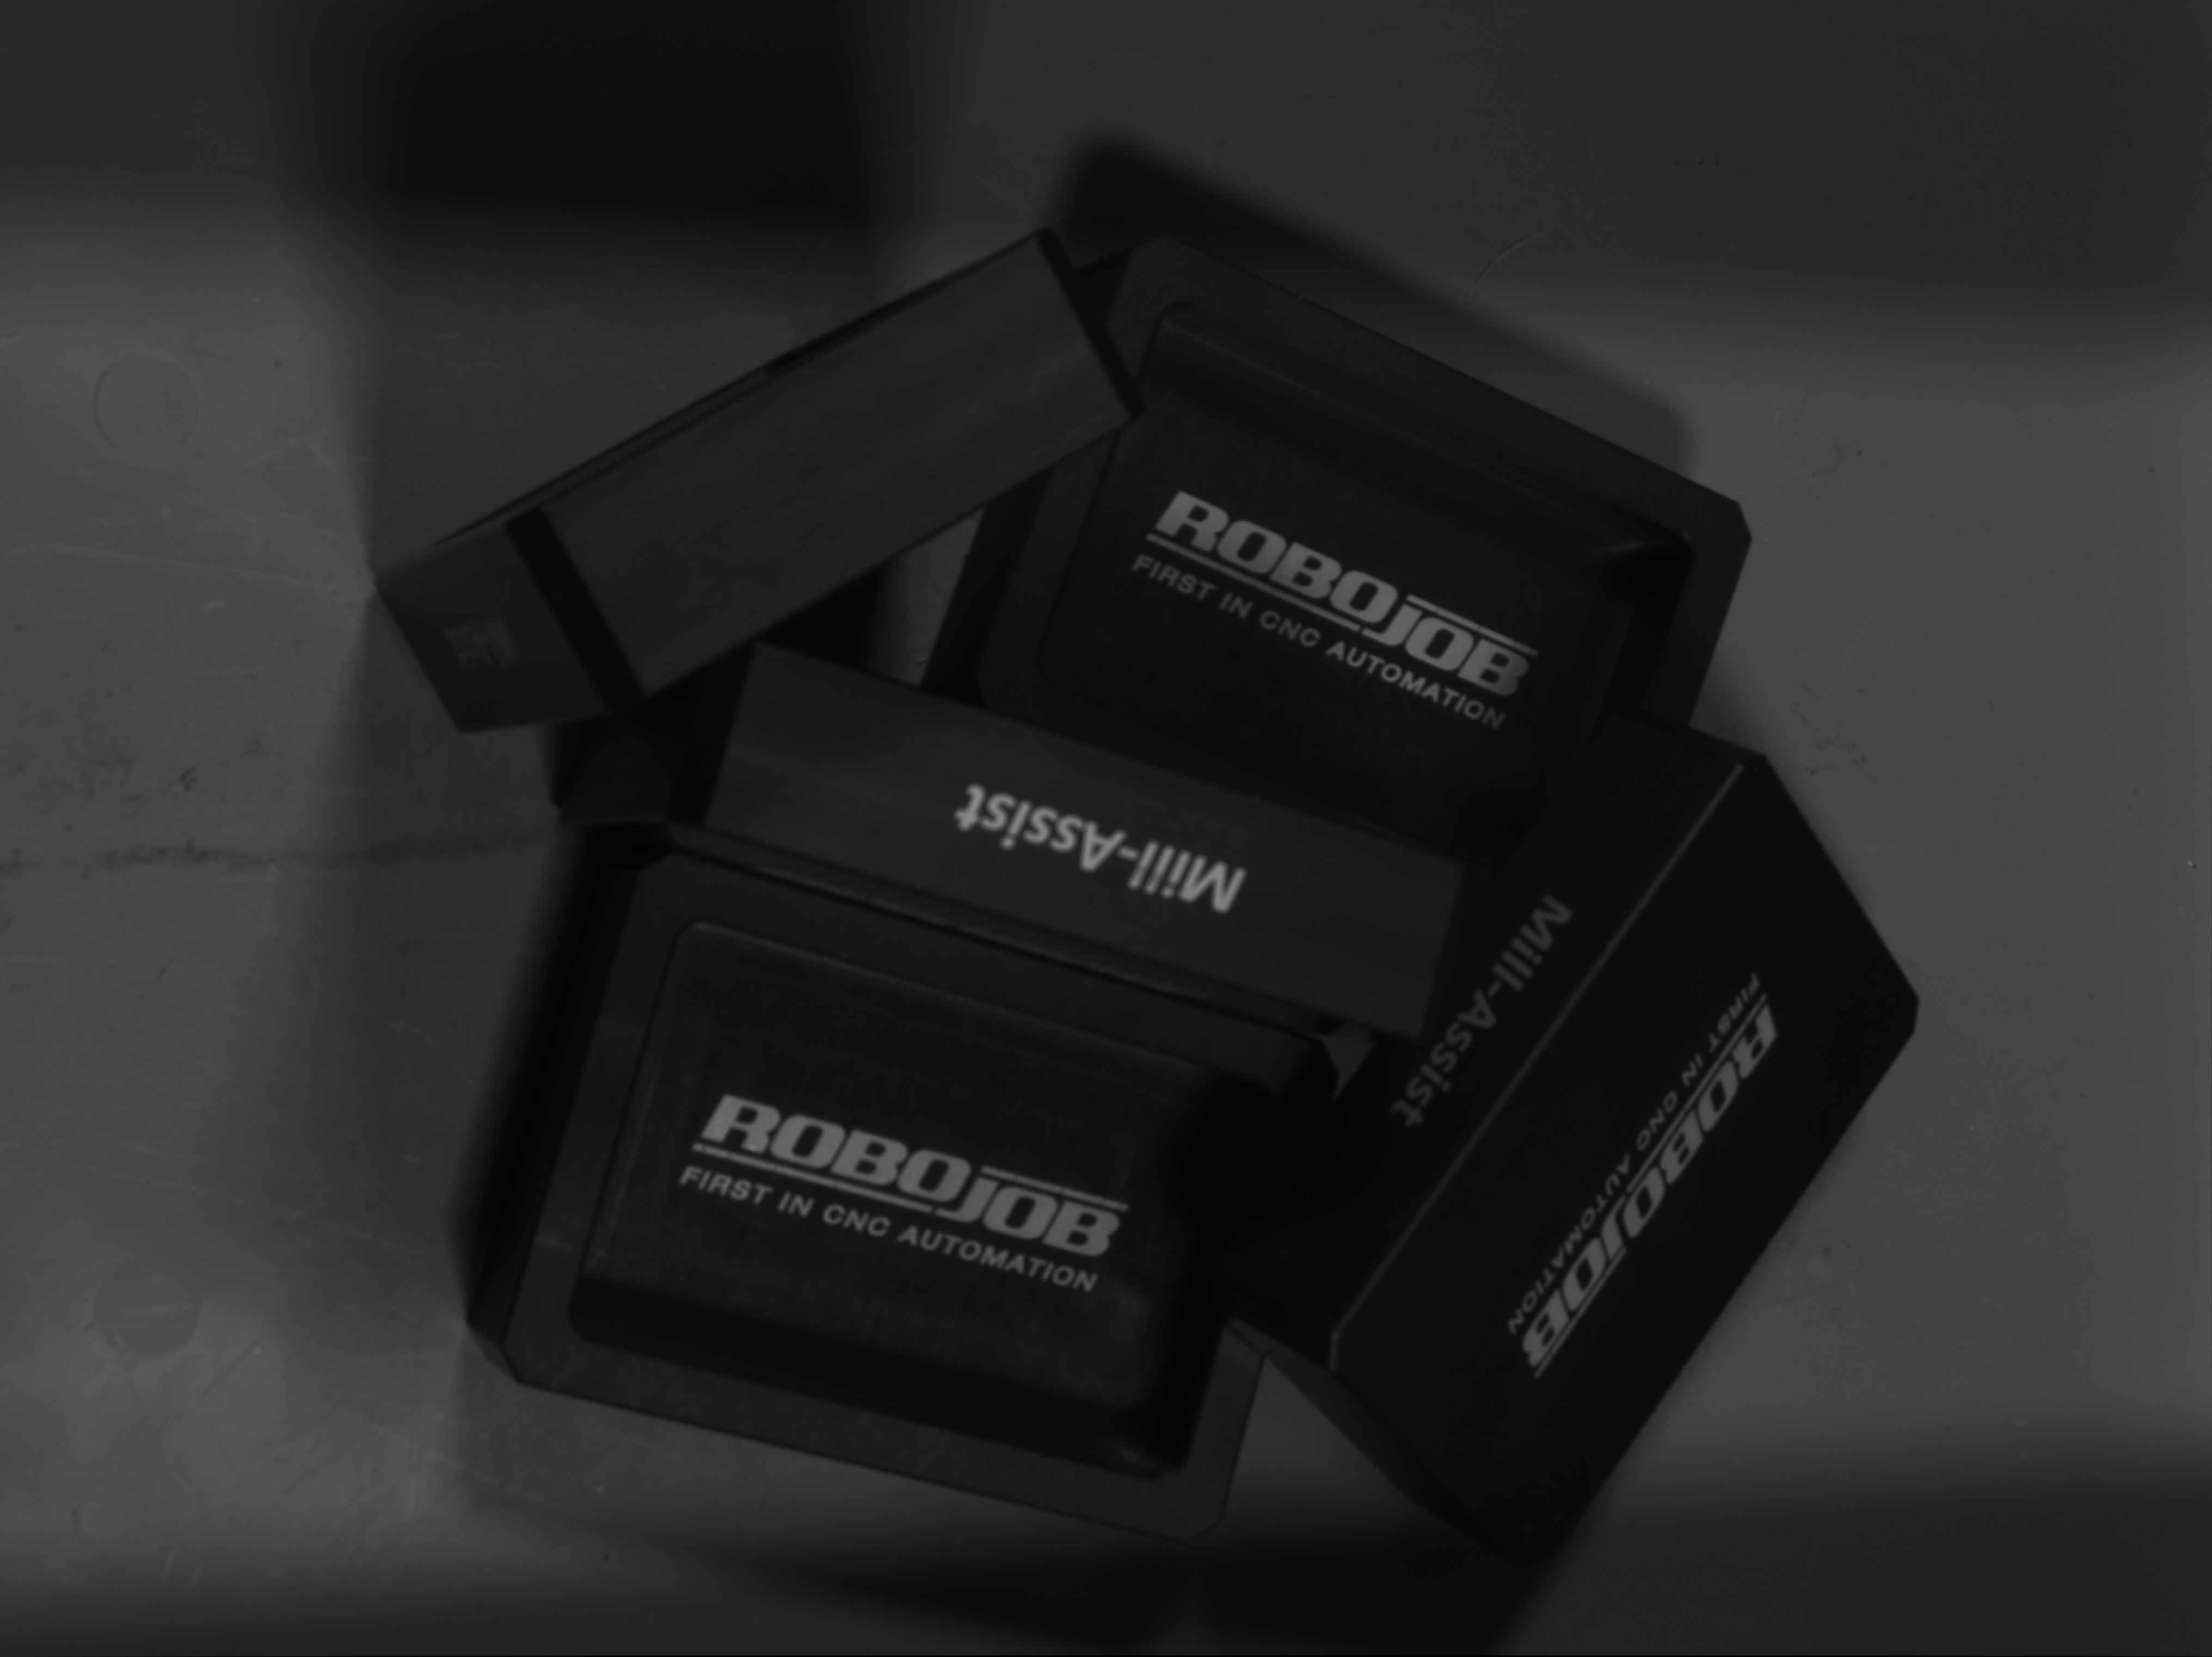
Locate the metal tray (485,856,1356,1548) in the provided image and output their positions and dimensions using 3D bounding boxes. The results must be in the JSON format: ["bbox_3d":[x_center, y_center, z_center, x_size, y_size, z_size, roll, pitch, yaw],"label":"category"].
[{"bbox_3d":[-0.030,0.064,0.627,0.130,0.030,0.090,17,84,-19],"label":"metal tray"}]

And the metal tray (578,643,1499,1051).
[{"bbox_3d":[-0.013,0.003,0.602,0.130,0.090,0.030,17,84,-19],"label":"metal tray"}]

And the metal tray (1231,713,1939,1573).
[{"bbox_3d":[0.088,0.056,0.650,0.130,0.030,0.090,-53,134,-12],"label":"metal tray"}]

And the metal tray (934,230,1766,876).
[{"bbox_3d":[0.045,-0.039,0.656,0.130,0.030,0.090,22,82,-19],"label":"metal tray"}]

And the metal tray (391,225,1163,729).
[{"bbox_3d":[-0.055,-0.051,0.565,0.090,0.130,0.030,-31,100,-17],"label":"metal tray"}]
